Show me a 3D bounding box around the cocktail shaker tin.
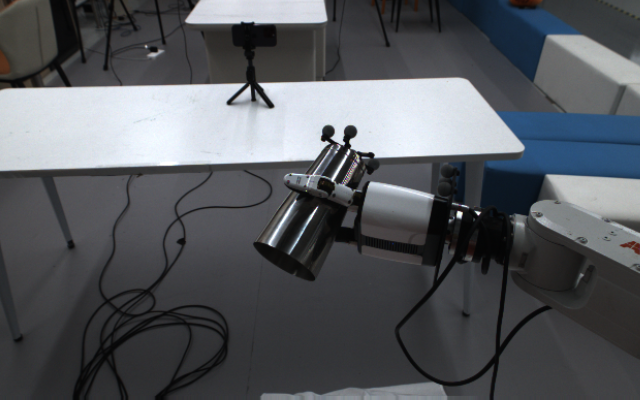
[{"bbox_3d":[-0.003,0.007,0.642,0.093,0.093,0.170,20,67,24],"label":"cocktail shaker tin"}]
